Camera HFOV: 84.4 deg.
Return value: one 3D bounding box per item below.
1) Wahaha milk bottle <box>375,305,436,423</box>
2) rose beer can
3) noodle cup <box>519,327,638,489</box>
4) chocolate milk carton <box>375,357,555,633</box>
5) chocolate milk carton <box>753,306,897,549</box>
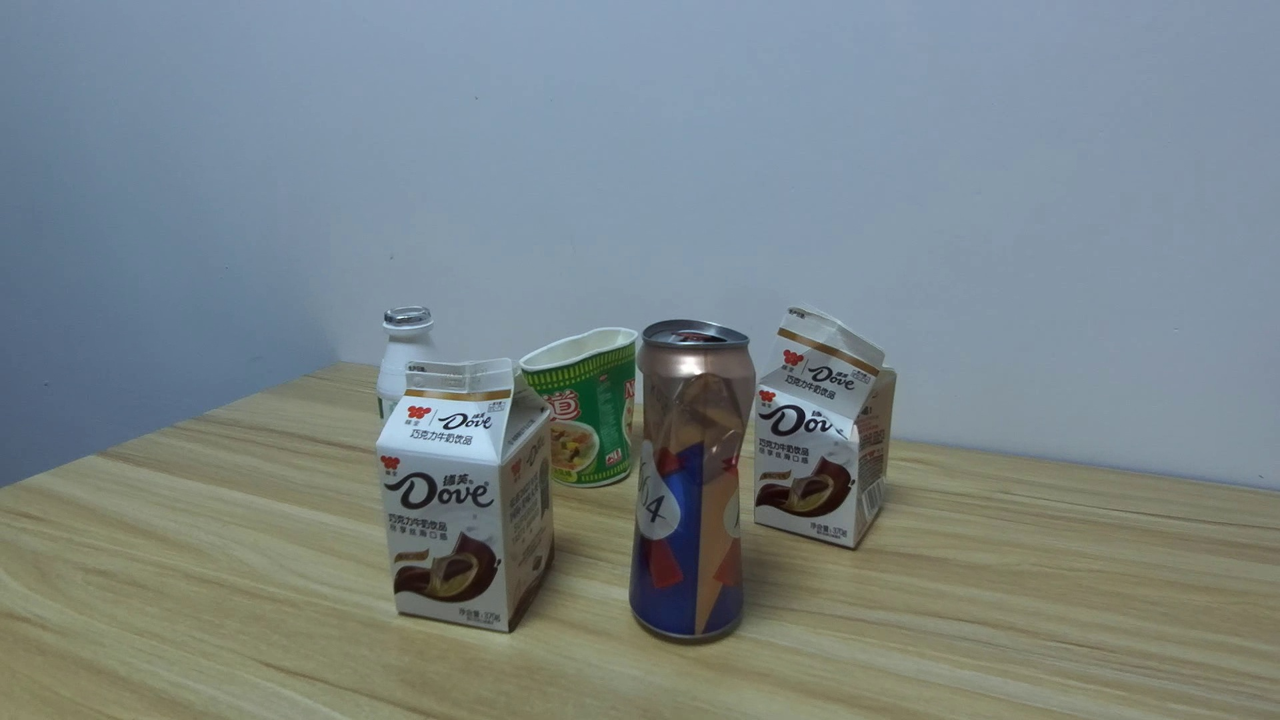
[{"bbox_3d":[-0.167,0.031,0.524,0.056,0.148,0.056,4,28,-2],"label":"Wahaha milk bottle"},{"bbox_3d":[0.028,0.066,0.382,0.065,0.167,0.076,1,15,-1],"label":"rose beer can"},{"bbox_3d":[-0.041,0.036,0.556,0.115,0.111,0.070,-11,23,-30],"label":"noodle cup"},{"bbox_3d":[-0.097,0.068,0.405,0.075,0.148,0.074,5,20,13],"label":"chocolate milk carton"},{"bbox_3d":[0.126,0.038,0.480,0.076,0.155,0.074,11,23,30],"label":"chocolate milk carton"}]
